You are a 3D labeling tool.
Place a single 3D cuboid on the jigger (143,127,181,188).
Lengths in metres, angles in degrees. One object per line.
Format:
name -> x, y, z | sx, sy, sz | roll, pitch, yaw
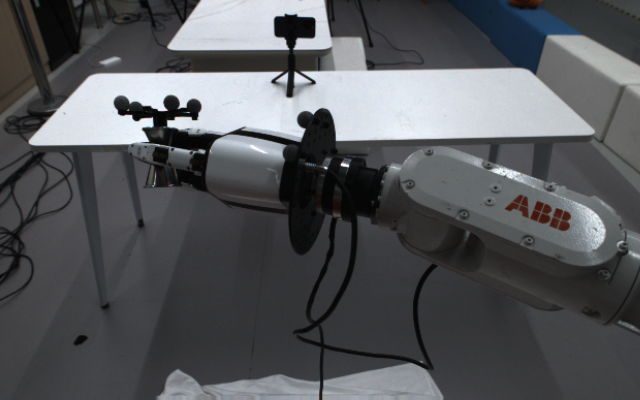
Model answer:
jigger -> -0.184, -0.048, 0.564 | 0.043, 0.071, 0.043 | -2, 4, 0
